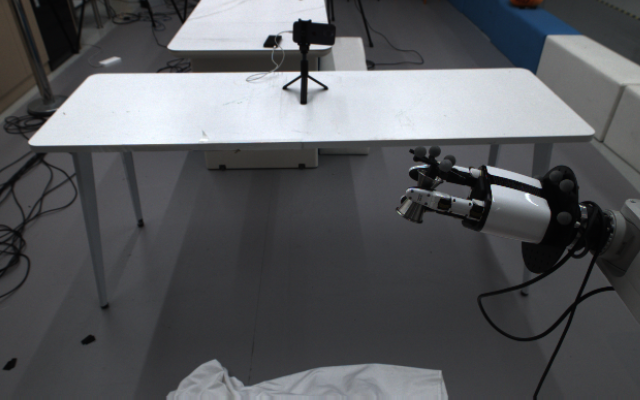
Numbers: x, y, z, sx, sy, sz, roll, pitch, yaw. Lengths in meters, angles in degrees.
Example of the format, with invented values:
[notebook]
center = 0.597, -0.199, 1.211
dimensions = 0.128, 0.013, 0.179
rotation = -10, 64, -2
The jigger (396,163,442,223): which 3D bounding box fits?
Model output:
[jigger]
center = 0.142, -0.007, 0.697
dimensions = 0.043, 0.071, 0.043
rotation = 23, 19, -8
